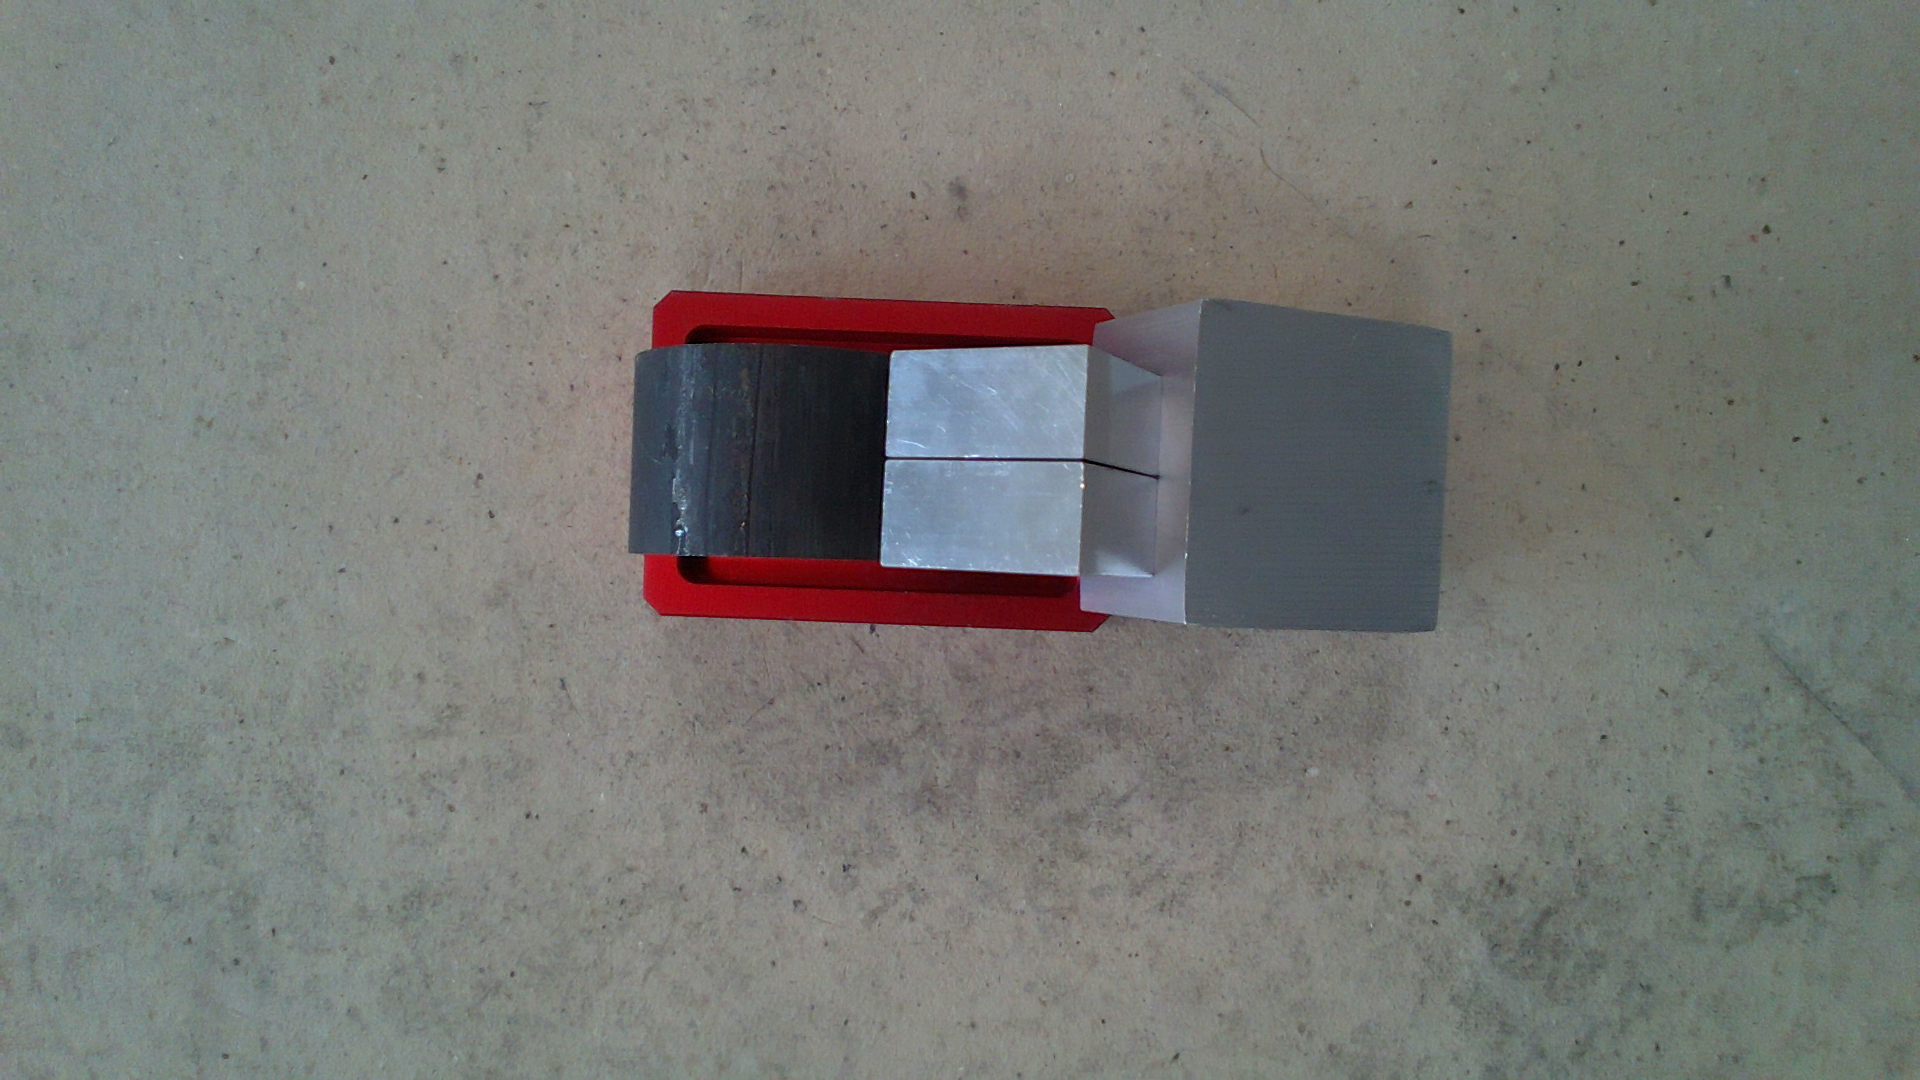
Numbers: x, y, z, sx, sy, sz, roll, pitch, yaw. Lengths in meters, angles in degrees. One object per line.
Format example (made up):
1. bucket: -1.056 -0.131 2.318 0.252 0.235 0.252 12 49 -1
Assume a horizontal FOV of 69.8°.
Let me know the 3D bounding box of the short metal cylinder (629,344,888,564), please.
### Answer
1. short metal cylinder: -0.044 -0.020 0.355 0.080 0.080 0.050 1 90 0

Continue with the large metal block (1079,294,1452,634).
1. large metal block: 0.081 -0.018 0.369 0.080 0.050 0.080 3 90 -26

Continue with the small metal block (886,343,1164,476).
1. small metal block: 0.017 -0.030 0.331 0.050 0.050 0.025 2 89 26

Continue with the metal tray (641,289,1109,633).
1. metal tray: -0.021 -0.022 0.392 0.130 0.030 0.090 2 90 0

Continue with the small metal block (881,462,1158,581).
1. small metal block: 0.016 -0.004 0.330 0.050 0.050 0.025 2 89 26
